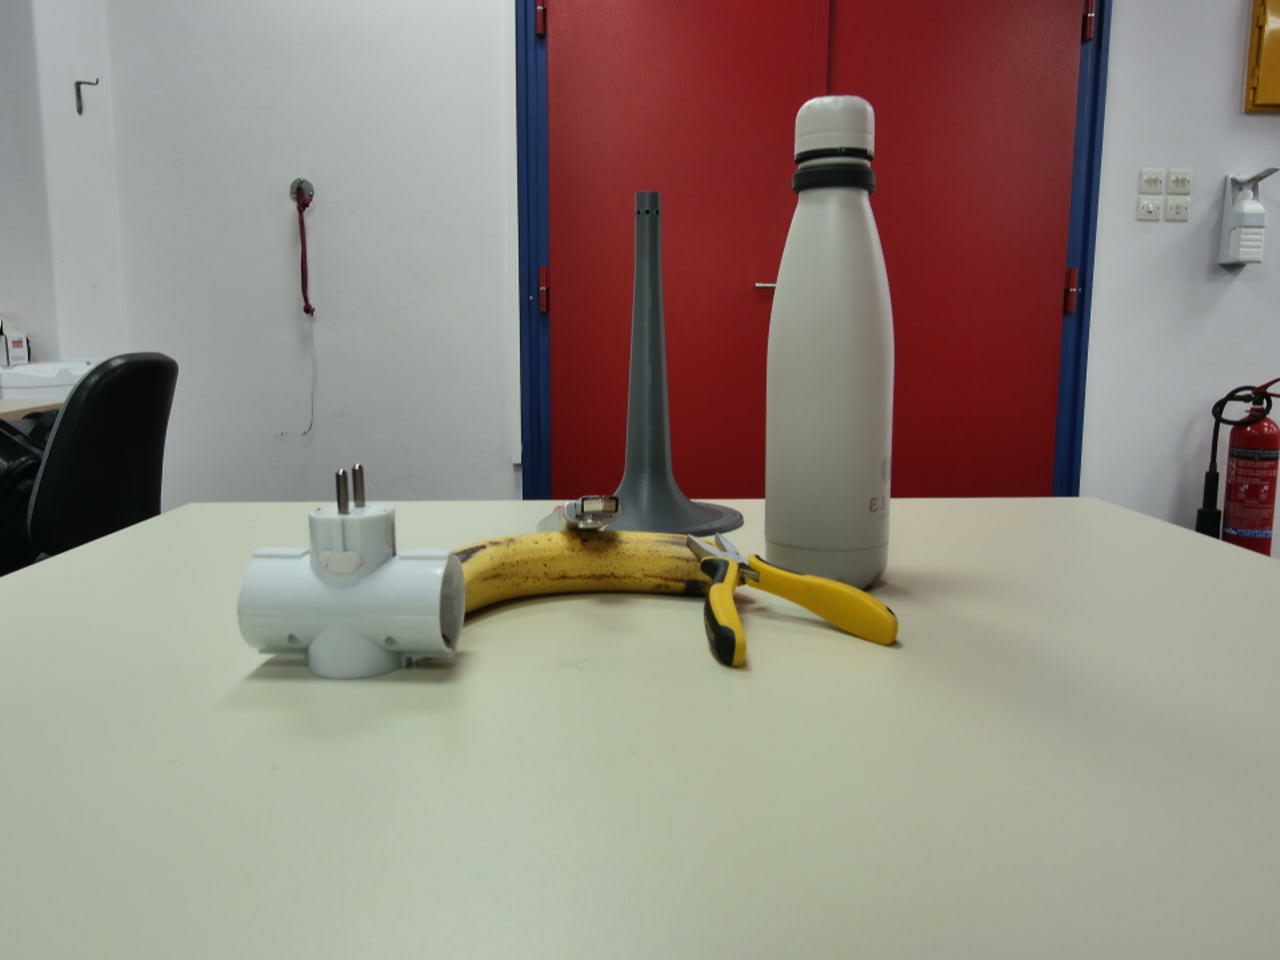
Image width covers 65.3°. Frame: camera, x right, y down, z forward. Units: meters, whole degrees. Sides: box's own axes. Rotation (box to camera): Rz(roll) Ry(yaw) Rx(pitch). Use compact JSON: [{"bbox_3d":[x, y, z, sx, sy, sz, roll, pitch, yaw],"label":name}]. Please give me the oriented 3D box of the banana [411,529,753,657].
[{"bbox_3d":[-0.040,0.052,0.542,0.186,0.038,0.097,-4,7,-29],"label":"banana"}]
